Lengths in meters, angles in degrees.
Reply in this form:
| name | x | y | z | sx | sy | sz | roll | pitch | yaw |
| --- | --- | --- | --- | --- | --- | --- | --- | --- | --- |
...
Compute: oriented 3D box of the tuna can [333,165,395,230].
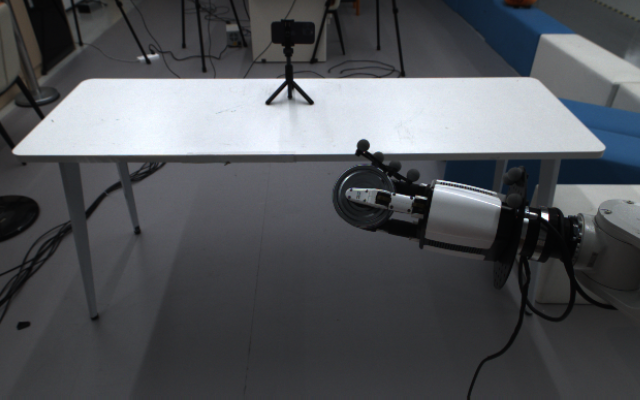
| name | x | y | z | sx | sy | sz | roll | pitch | yaw |
| --- | --- | --- | --- | --- | --- | --- | --- | --- | --- |
| tuna can | 0.064 | 0.001 | 0.652 | 0.085 | 0.085 | 0.034 | 13 | -4 | 15 |
